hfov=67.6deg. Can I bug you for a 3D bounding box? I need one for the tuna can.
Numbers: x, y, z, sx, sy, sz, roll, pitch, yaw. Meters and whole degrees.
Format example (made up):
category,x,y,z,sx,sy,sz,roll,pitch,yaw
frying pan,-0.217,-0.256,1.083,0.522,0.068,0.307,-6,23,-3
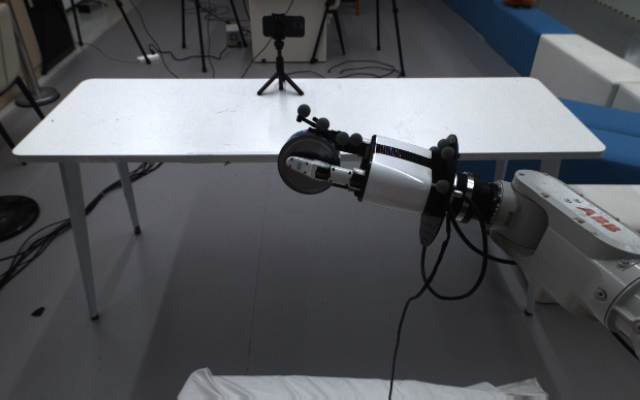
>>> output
category,x,y,z,sx,sy,sz,roll,pitch,yaw
tuna can,-0.013,-0.053,0.671,0.085,0.085,0.034,4,20,3
